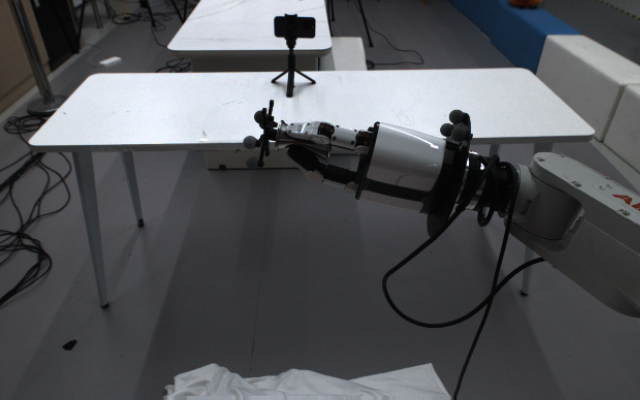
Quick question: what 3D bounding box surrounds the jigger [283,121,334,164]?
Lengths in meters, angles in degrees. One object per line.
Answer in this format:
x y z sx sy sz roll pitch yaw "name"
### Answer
-0.012 -0.080 0.616 0.071 0.043 0.043 11 35 3 "jigger"
